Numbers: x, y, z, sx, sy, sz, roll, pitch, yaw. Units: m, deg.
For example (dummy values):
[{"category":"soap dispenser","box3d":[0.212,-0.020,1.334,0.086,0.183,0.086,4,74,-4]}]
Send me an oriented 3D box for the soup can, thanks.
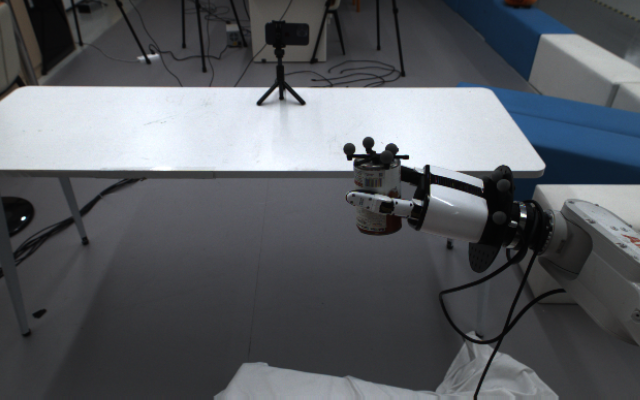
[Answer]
[{"category":"soup can","box3d":[0.084,-0.009,0.697,0.067,0.101,0.067,-4,21,2]}]
